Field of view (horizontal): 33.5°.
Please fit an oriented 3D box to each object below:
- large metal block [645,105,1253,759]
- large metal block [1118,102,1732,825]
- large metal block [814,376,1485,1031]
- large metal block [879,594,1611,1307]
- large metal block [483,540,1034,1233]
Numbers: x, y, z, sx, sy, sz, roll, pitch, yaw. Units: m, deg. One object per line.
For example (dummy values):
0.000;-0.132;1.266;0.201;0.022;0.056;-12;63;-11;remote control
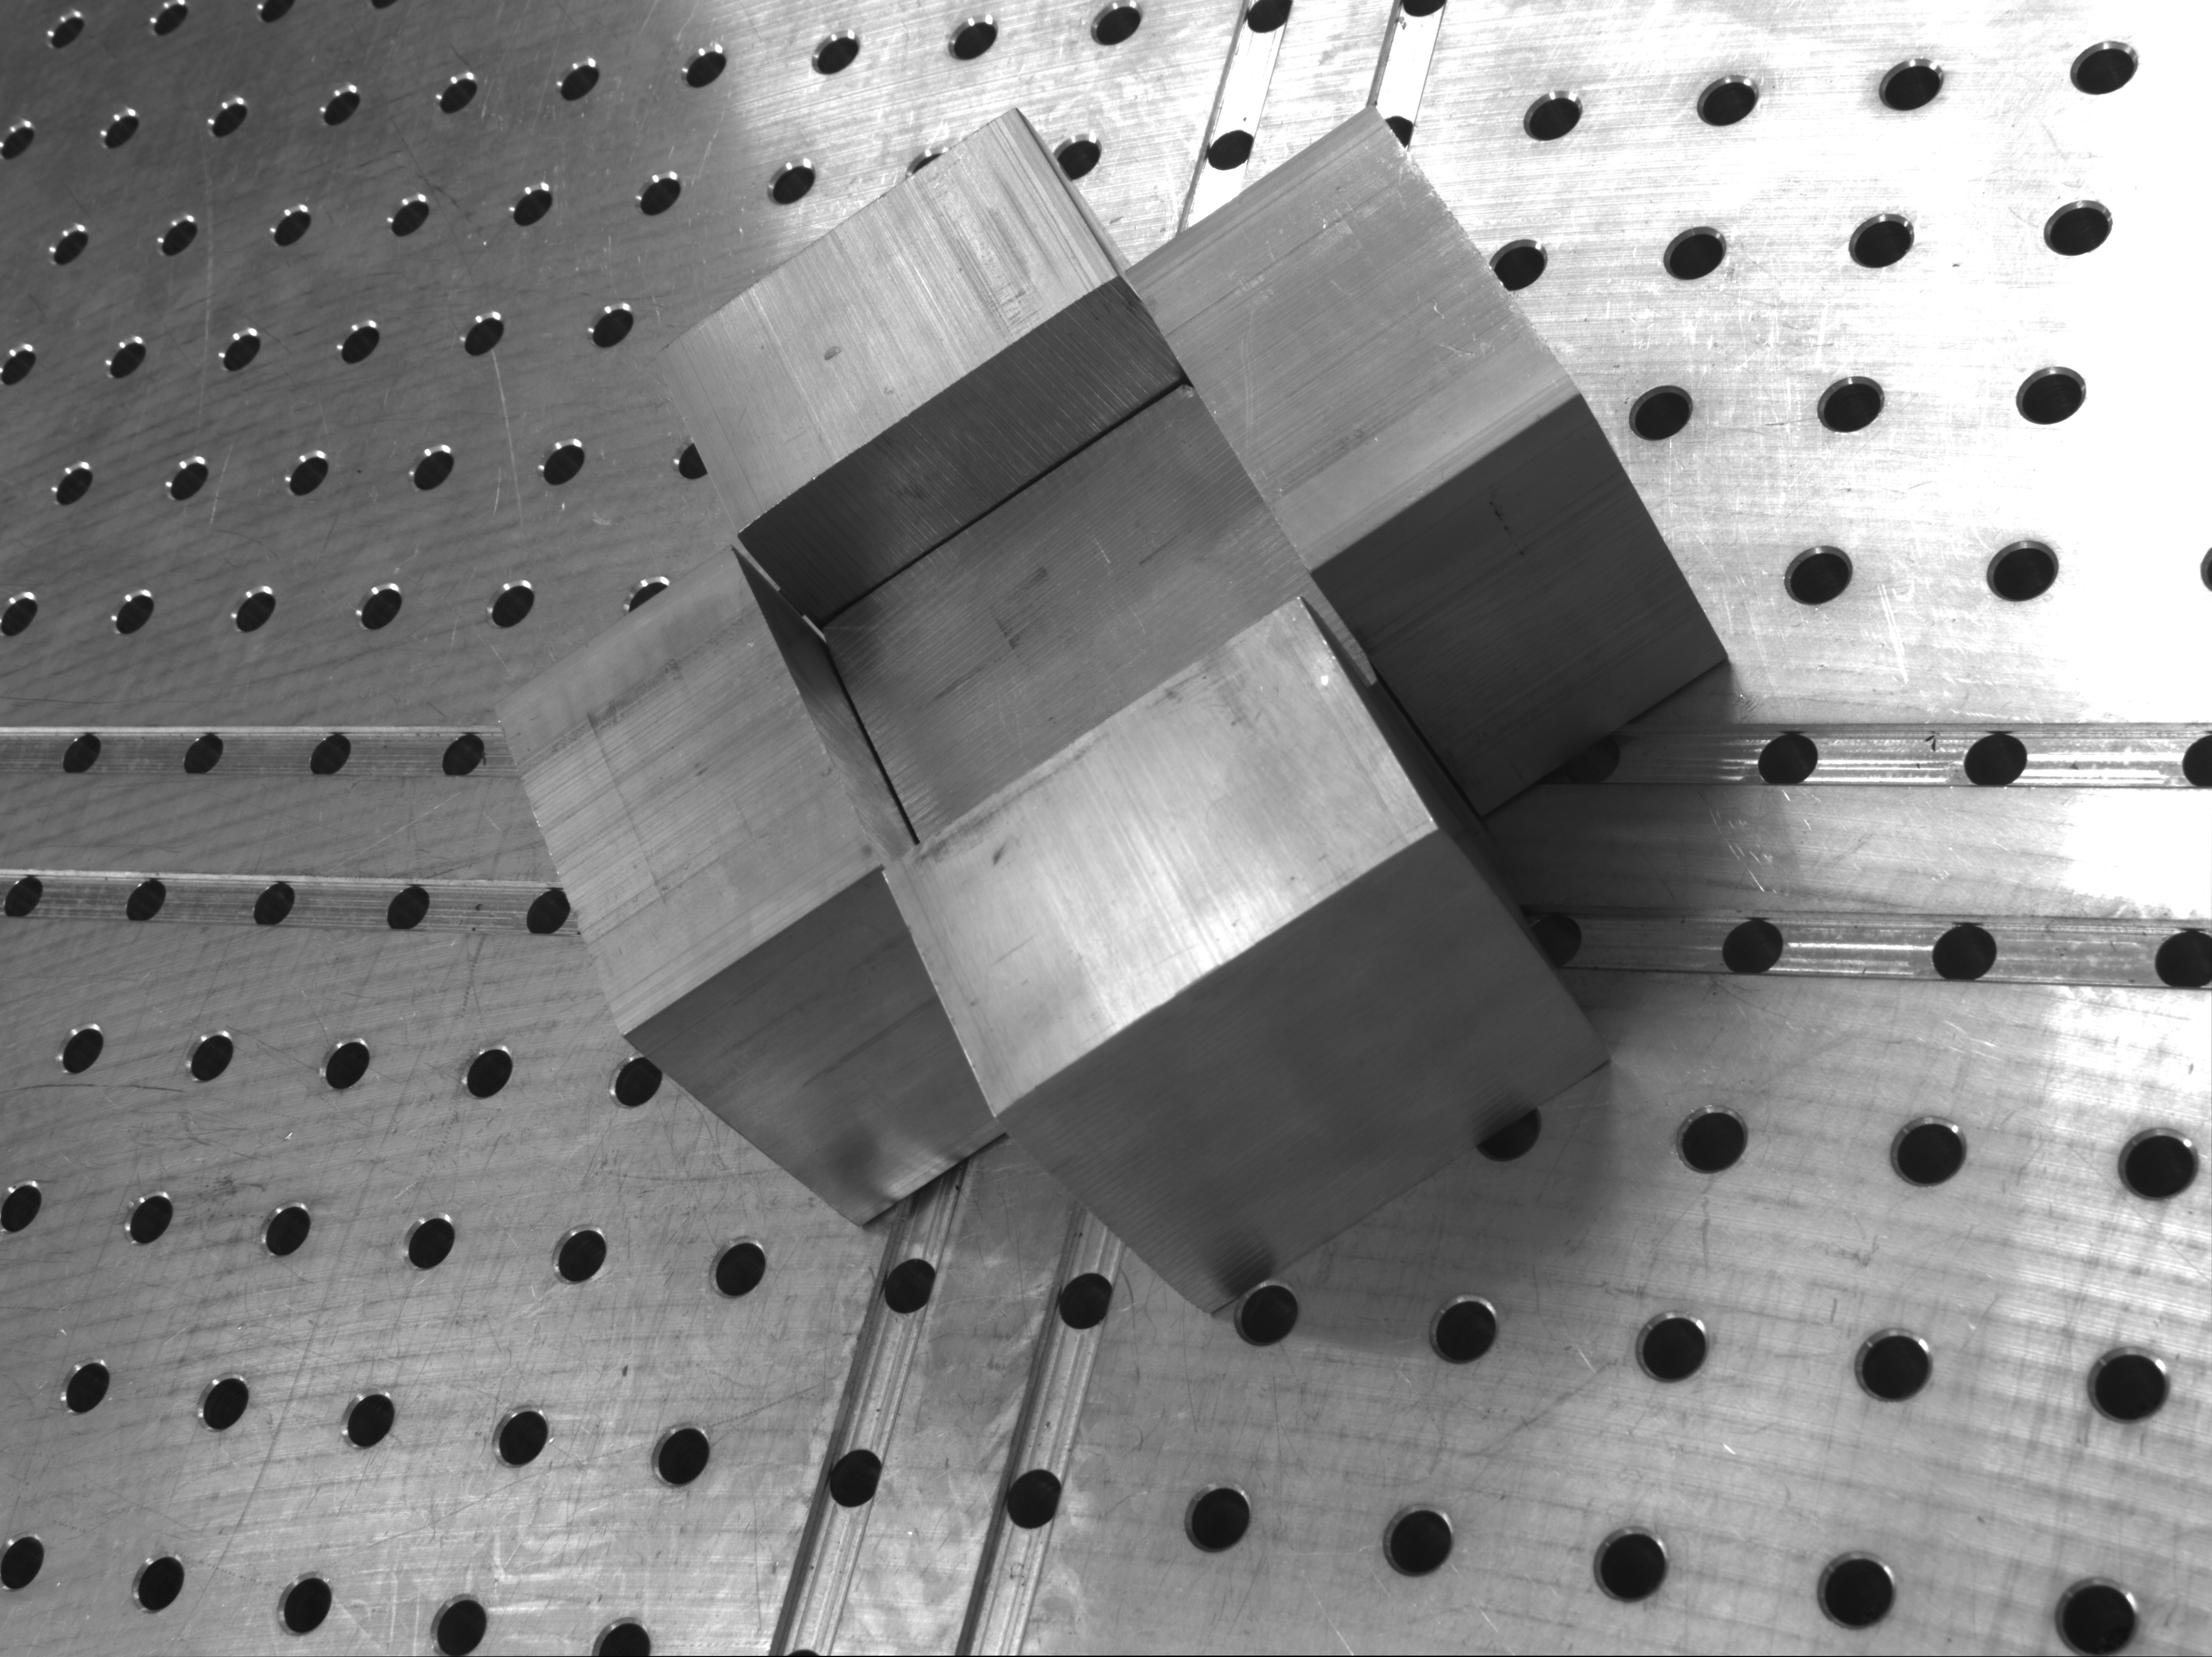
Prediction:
-0.023;-0.070;0.669;0.080;0.080;0.050;-34;51;6;large metal block
0.054;-0.061;0.622;0.050;0.080;0.080;-33;51;6;large metal block
0.006;-0.018;0.639;0.080;0.050;0.080;-35;49;8;large metal block
0.023;0.022;0.589;0.080;0.080;0.050;-33;51;7;large metal block
-0.055;0.011;0.636;0.050;0.080;0.080;-34;51;6;large metal block
